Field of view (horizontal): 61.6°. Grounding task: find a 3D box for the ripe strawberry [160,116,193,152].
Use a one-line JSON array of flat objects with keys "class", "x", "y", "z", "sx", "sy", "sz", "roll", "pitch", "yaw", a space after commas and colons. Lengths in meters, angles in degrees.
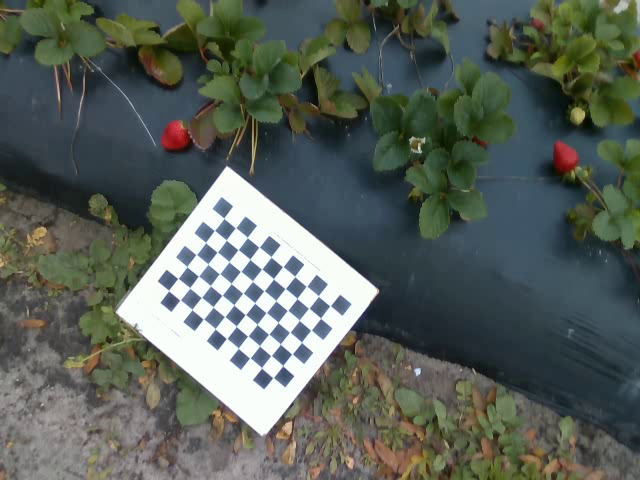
[{"class": "ripe strawberry", "x": -0.143, "y": -0.096, "z": 0.517, "sx": 0.033, "sy": 0.029, "sz": 0.023, "roll": -35, "pitch": -3, "yaw": 2}]
